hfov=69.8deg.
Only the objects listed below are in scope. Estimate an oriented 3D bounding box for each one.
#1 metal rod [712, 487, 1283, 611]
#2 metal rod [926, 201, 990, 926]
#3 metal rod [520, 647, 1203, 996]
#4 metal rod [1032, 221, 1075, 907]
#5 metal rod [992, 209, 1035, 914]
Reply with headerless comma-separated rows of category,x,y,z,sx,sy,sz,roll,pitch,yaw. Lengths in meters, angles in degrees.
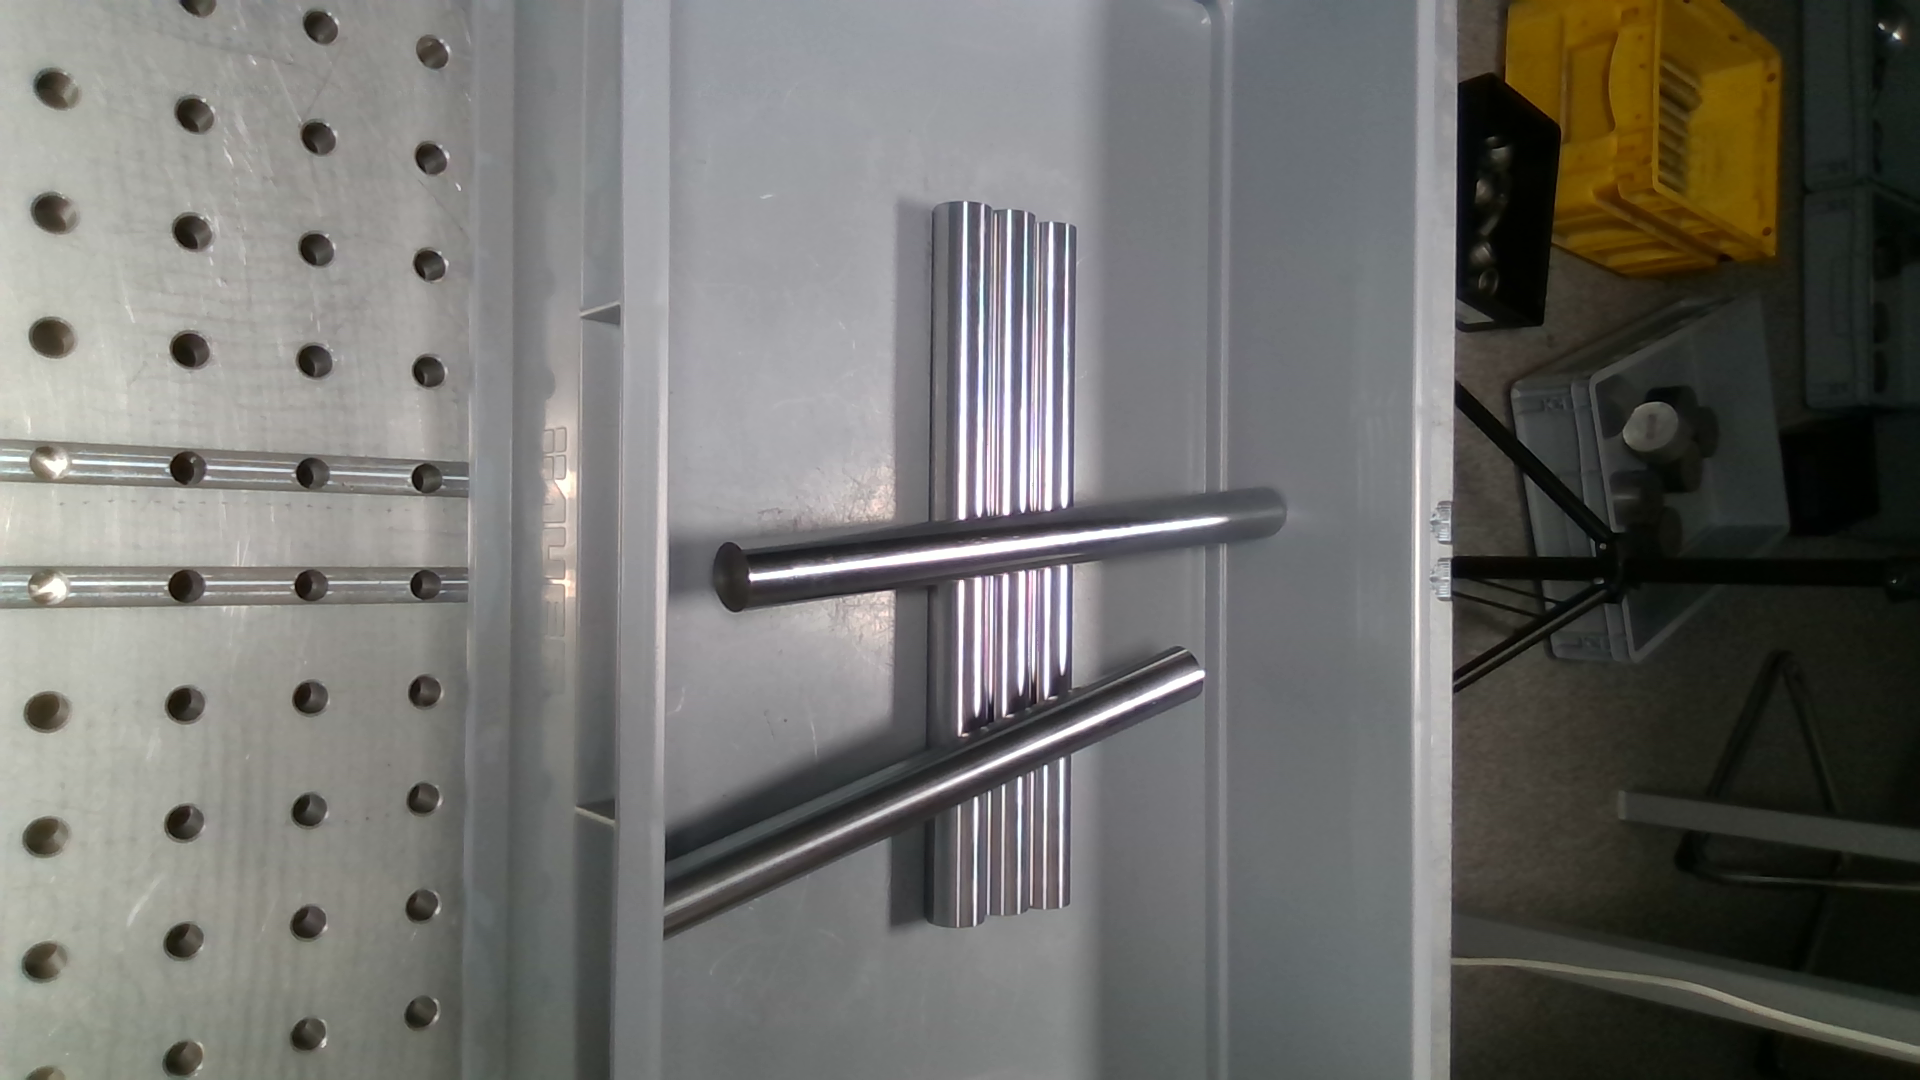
metal rod,0.034,-0.001,0.578,0.300,0.025,0.025,-7,94,-40
metal rod,-0.001,0.010,0.582,0.025,0.025,0.300,1,90,-40
metal rod,-0.021,0.100,0.538,0.300,0.025,0.025,-18,102,-32
metal rod,0.038,0.010,0.614,0.025,0.025,0.300,1,90,-40
metal rod,0.019,0.009,0.598,0.025,0.025,0.300,1,90,-40
